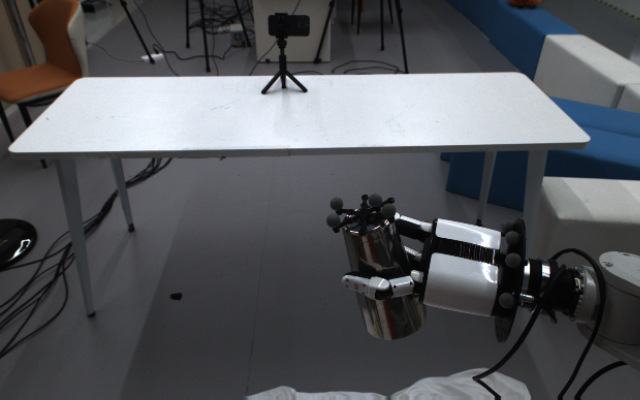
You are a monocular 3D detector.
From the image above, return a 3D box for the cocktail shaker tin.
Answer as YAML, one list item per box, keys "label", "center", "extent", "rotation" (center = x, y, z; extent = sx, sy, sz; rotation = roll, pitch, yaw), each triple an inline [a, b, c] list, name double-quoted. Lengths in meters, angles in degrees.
- label: "cocktail shaker tin"
  center: [0.083, 0.095, 0.652]
  extent: [0.093, 0.170, 0.093]
  rotation: [-15, 28, 8]
